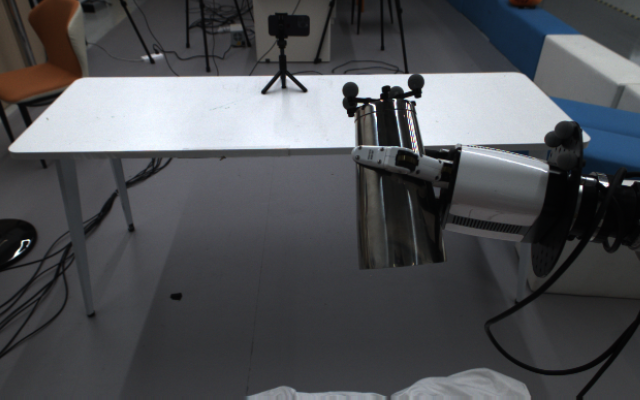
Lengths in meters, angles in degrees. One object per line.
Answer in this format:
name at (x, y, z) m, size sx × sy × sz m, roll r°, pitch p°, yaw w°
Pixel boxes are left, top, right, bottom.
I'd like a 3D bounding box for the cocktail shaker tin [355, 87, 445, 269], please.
cocktail shaker tin at (0.080, -0.015, 0.519) m, size 0.093 × 0.170 × 0.093 m, roll -6°, pitch -7°, yaw -1°
